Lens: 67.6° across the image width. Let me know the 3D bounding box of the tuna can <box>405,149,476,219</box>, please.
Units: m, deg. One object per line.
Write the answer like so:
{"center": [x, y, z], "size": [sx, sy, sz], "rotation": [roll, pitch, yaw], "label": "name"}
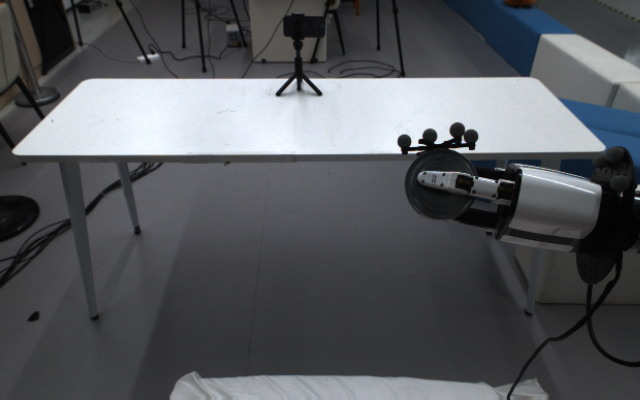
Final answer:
{"center": [0.148, -0.019, 0.591], "size": [0.085, 0.085, 0.034], "rotation": [10, -6, 11], "label": "tuna can"}
